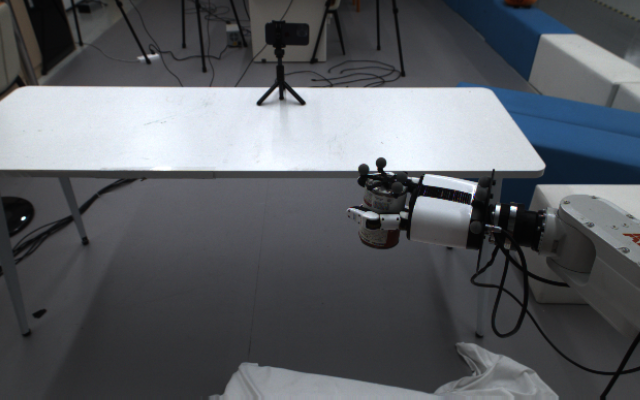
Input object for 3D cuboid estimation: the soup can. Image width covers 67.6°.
[{"bbox_3d":[0.101,0.019,0.771,0.067,0.101,0.067,4,30,-2],"label":"soup can"}]
